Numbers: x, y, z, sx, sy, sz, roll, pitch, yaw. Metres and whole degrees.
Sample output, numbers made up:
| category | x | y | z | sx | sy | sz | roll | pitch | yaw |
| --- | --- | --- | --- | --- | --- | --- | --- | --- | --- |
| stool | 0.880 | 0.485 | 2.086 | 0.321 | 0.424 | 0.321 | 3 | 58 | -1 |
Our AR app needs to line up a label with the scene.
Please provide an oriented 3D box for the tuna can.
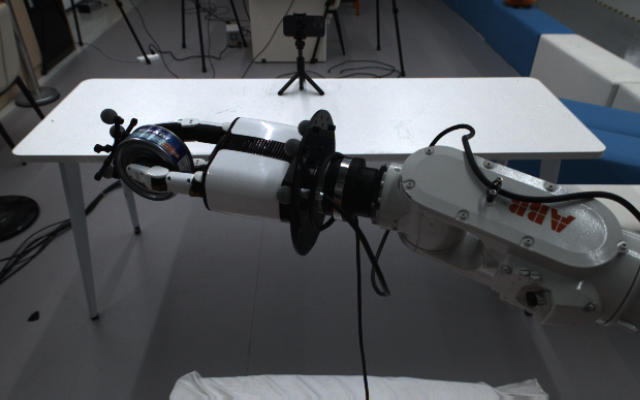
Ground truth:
| category | x | y | z | sx | sy | sz | roll | pitch | yaw |
| --- | --- | --- | --- | --- | --- | --- | --- | --- | --- |
| tuna can | -0.192 | -0.040 | 0.563 | 0.085 | 0.085 | 0.034 | 9 | 37 | 10 |
